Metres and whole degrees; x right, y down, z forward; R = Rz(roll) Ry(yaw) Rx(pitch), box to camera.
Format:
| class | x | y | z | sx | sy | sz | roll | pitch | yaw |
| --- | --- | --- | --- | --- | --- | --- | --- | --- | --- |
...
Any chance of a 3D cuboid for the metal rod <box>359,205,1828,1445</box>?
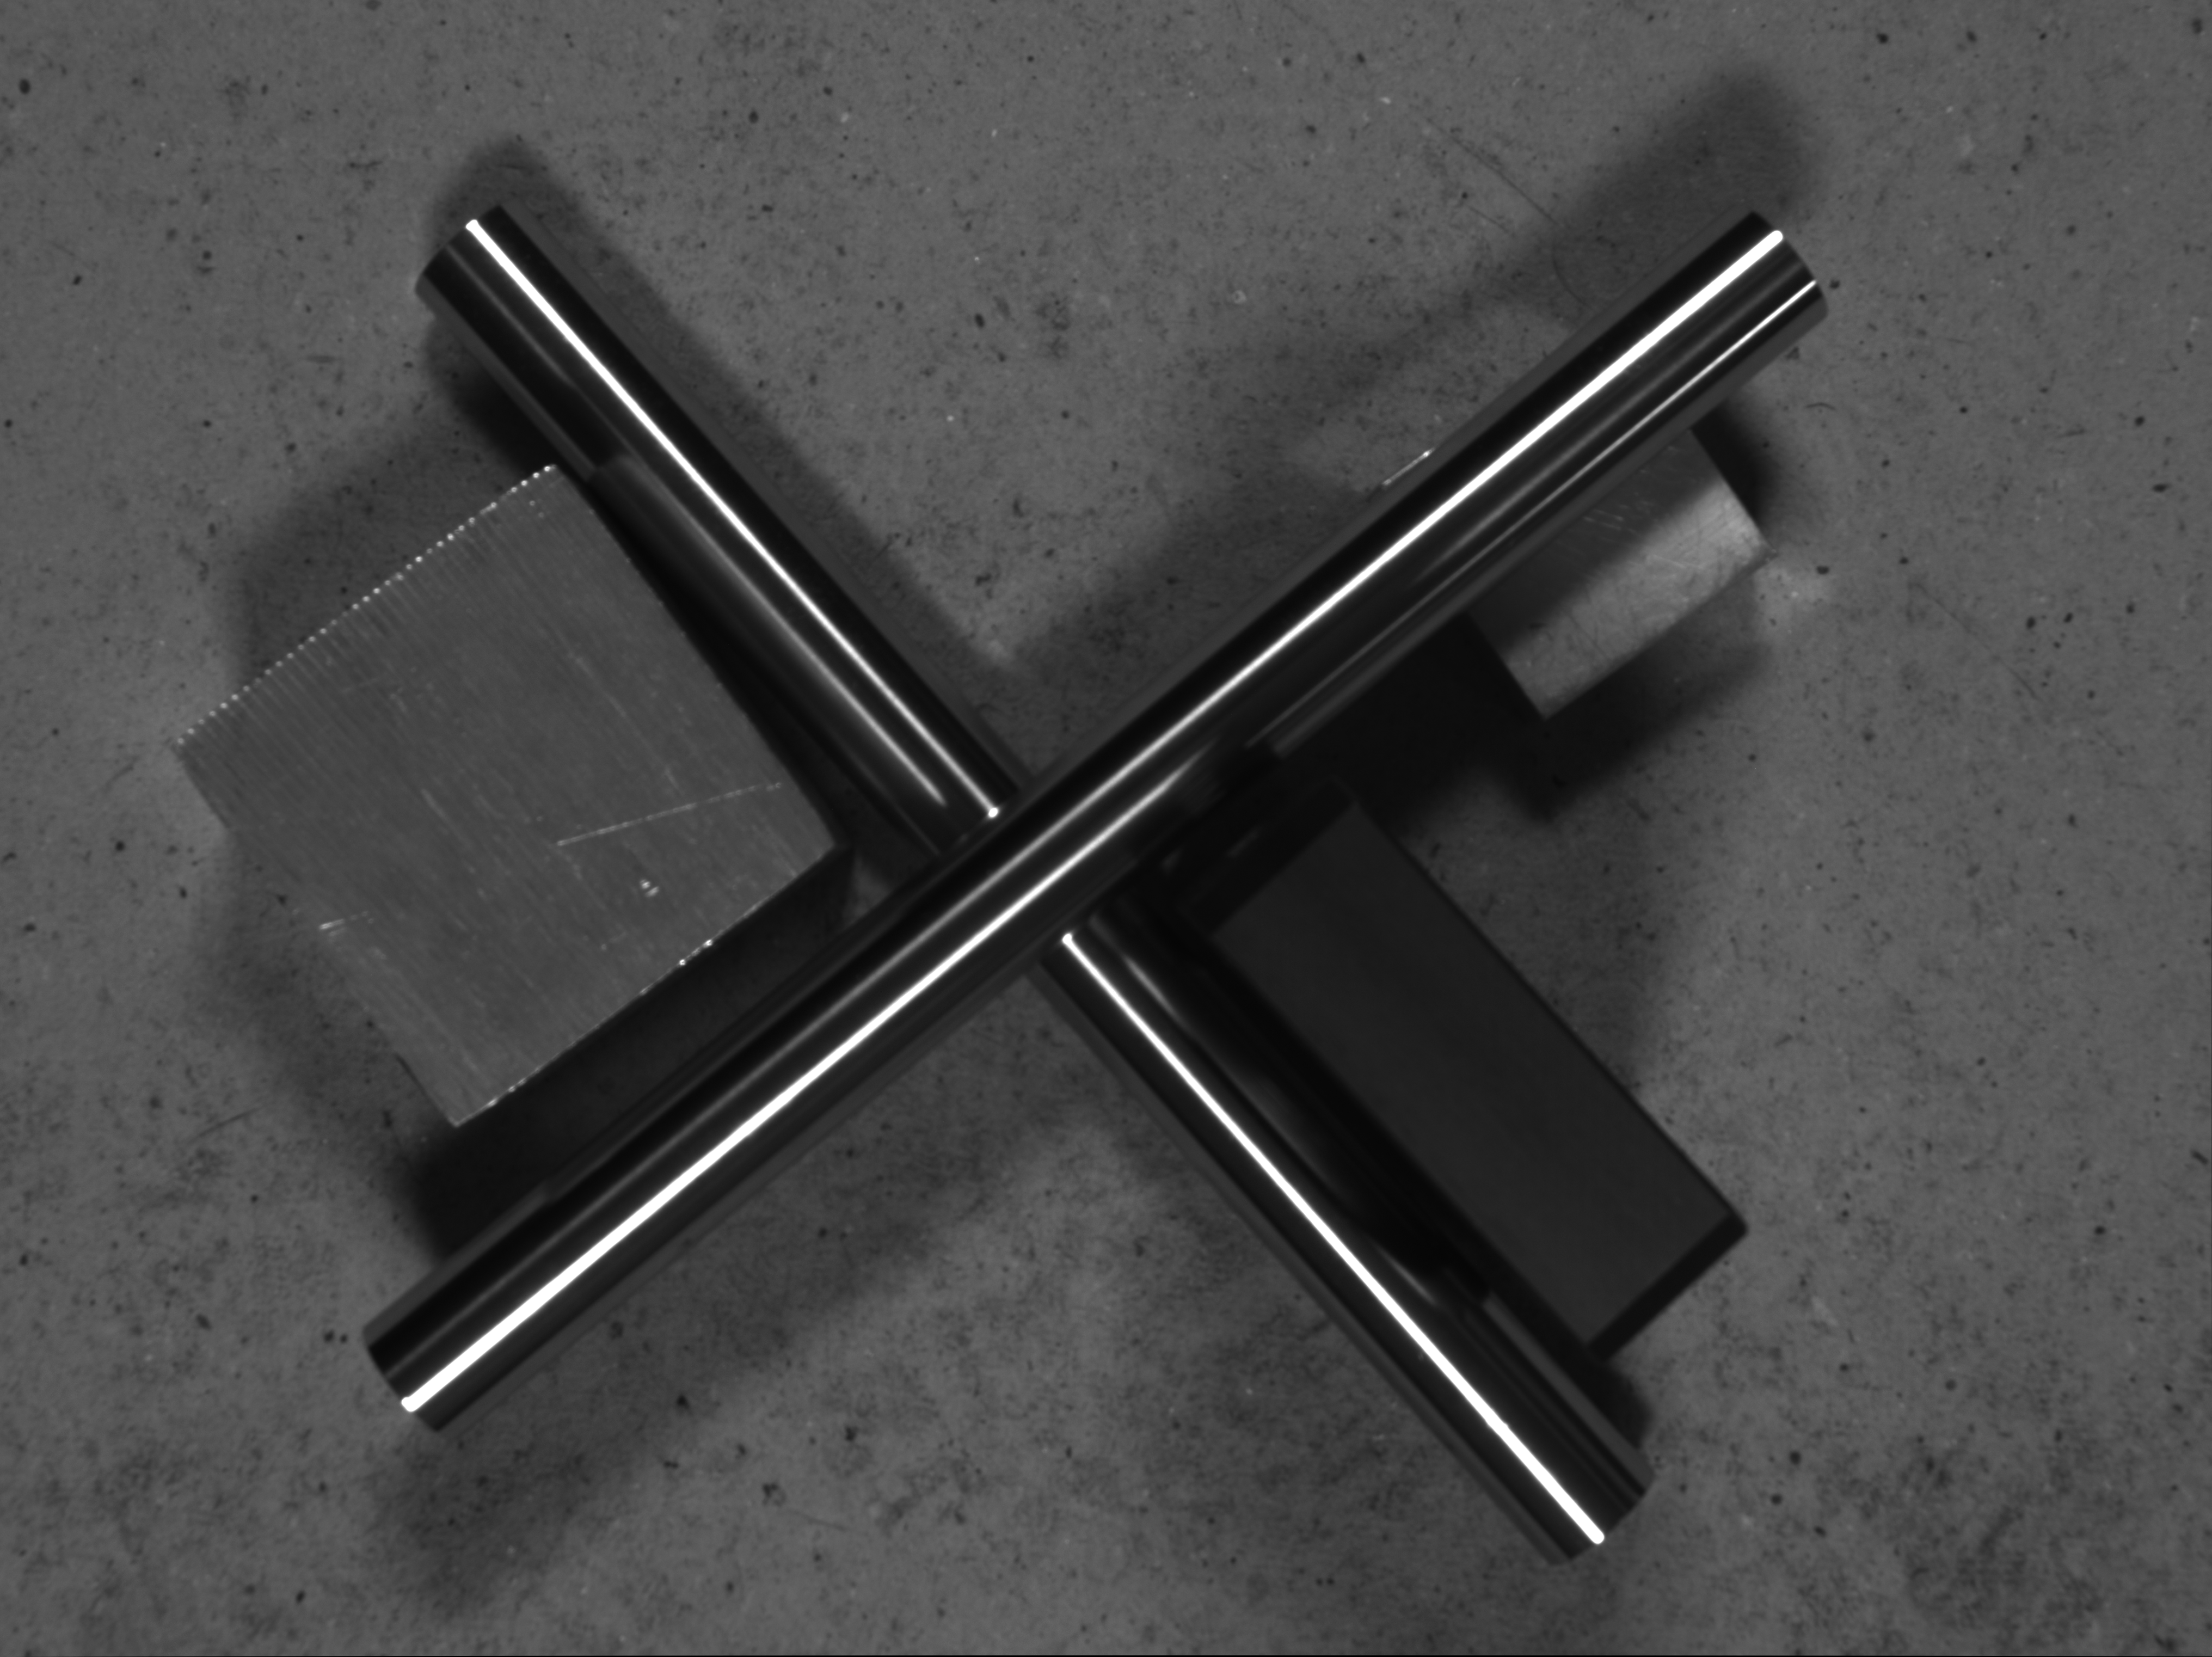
| class | x | y | z | sx | sy | sz | roll | pitch | yaw |
| --- | --- | --- | --- | --- | --- | --- | --- | --- | --- |
| metal rod | -0.002 | -0.001 | 0.620 | 0.300 | 0.025 | 0.025 | -39 | 90 | 0 |

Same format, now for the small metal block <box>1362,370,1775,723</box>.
| class | x | y | z | sx | sy | sz | roll | pitch | yaw |
| --- | --- | --- | --- | --- | --- | --- | --- | --- | --- |
| small metal block | 0.081 | -0.053 | 0.646 | 0.050 | 0.025 | 0.050 | -35 | 90 | 0 |

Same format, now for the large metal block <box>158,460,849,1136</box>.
| class | x | y | z | sx | sy | sz | roll | pitch | yaw |
| --- | --- | --- | --- | --- | --- | --- | --- | --- | --- |
| large metal block | -0.101 | -0.005 | 0.631 | 0.080 | 0.050 | 0.080 | -37 | 90 | 0 |

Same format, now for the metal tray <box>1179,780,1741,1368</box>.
| class | x | y | z | sx | sy | sz | roll | pitch | yaw |
| --- | --- | --- | --- | --- | --- | --- | --- | --- | --- |
| metal tray | 0.052 | 0.036 | 0.593 | 0.030 | 0.130 | 0.090 | -42 | 90 | 0 |

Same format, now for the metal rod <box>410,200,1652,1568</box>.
| class | x | y | z | sx | sy | sz | roll | pitch | yaw |
| --- | --- | --- | --- | --- | --- | --- | --- | --- | --- |
| metal rod | -0.013 | 0.010 | 0.645 | 0.025 | 0.025 | 0.300 | -42 | 90 | 0 |
